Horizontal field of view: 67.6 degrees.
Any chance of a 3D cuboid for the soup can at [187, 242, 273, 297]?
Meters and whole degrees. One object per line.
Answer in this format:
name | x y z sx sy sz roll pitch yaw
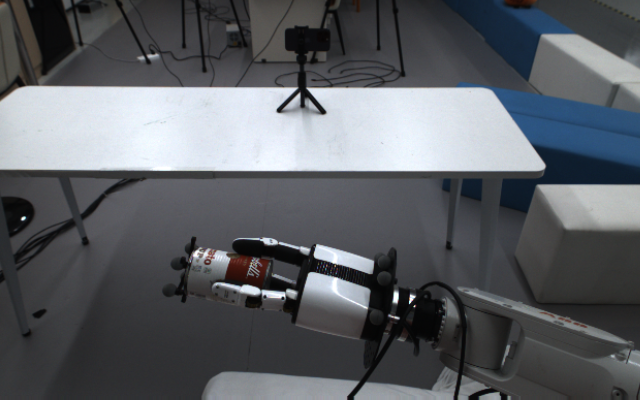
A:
soup can | -0.115 0.104 0.635 0.101 0.067 0.067 11 35 0
